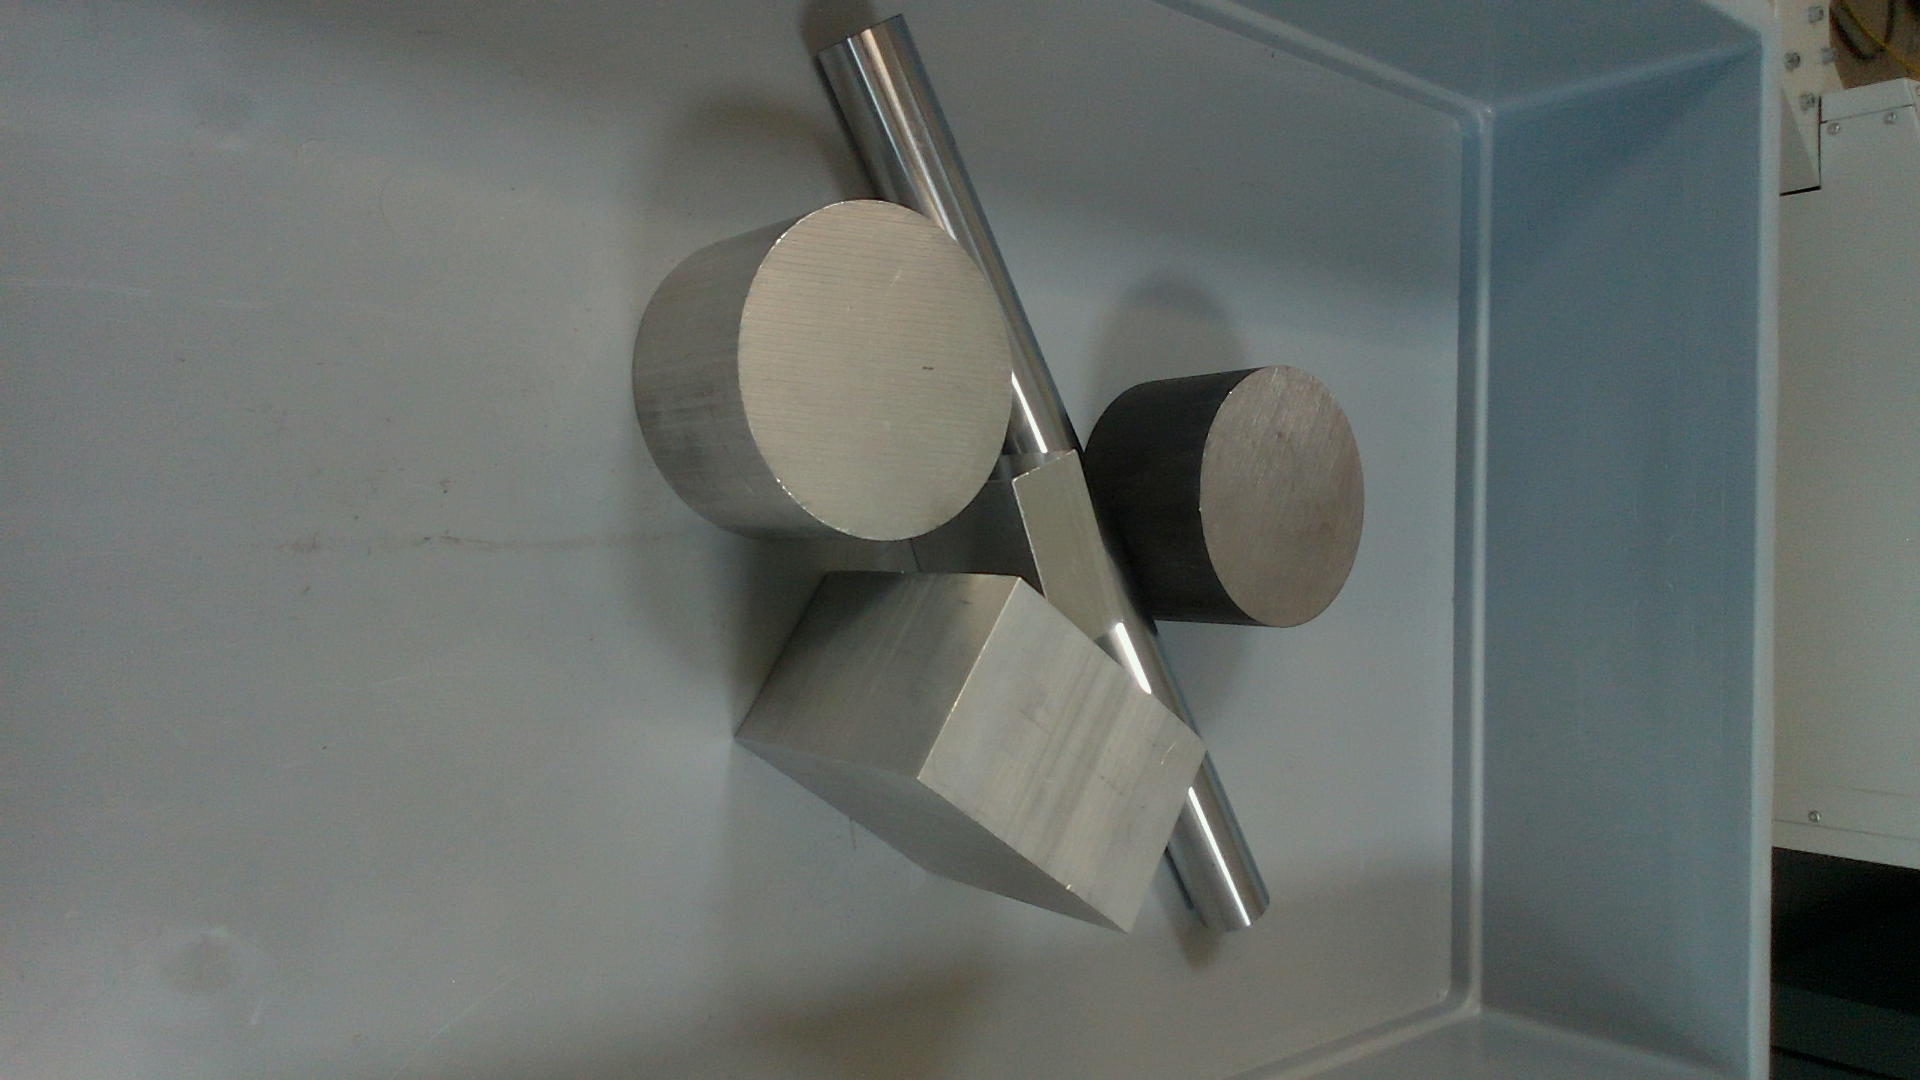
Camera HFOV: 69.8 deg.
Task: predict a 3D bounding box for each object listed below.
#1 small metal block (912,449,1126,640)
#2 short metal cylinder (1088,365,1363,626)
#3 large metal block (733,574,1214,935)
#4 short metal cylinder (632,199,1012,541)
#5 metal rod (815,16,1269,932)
[{"bbox_3d":[0.013,0.004,0.382,0.025,0.050,0.050,-27,107,-37],"label":"small metal block"},{"bbox_3d":[0.084,-0.014,0.441,0.080,0.050,0.080,0,90,-40],"label":"short metal cylinder"},{"bbox_3d":[0.003,0.053,0.353,0.080,0.080,0.050,41,66,-31],"label":"large metal block"},{"bbox_3d":[-0.033,-0.040,0.343,0.080,0.050,0.080,0,90,-40],"label":"short metal cylinder"},{"bbox_3d":[0.033,-0.005,0.414,0.025,0.025,0.300,-38,113,-33],"label":"metal rod"}]
